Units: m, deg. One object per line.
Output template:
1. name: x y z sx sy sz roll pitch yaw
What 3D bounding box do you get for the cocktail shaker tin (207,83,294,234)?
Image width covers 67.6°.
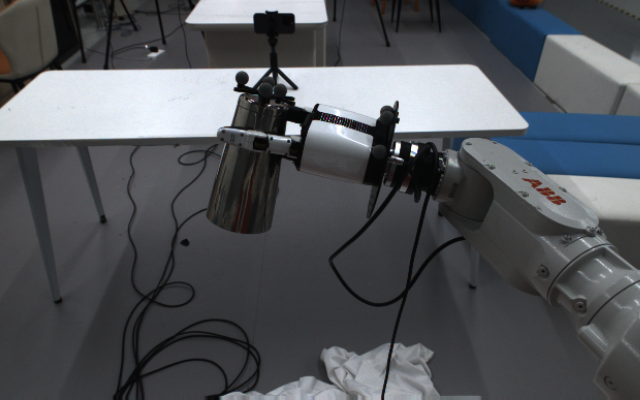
1. cocktail shaker tin: -0.091 -0.054 0.653 0.093 0.170 0.093 14 19 -5
